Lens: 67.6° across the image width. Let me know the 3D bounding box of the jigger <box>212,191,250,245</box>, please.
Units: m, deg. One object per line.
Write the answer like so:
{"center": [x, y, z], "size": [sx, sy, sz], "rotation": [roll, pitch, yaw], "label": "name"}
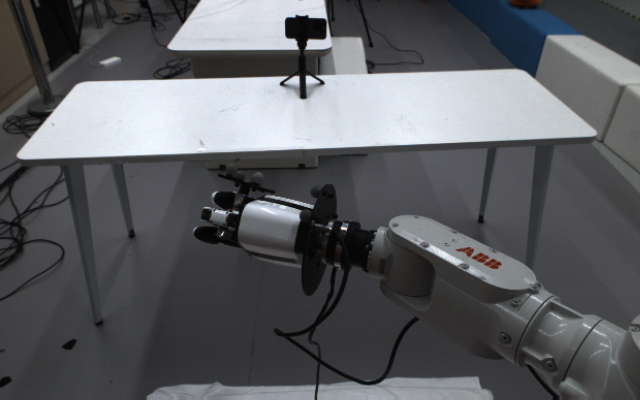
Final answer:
{"center": [-0.123, 0.024, 0.706], "size": [0.043, 0.071, 0.043], "rotation": [18, -6, 2], "label": "jigger"}
